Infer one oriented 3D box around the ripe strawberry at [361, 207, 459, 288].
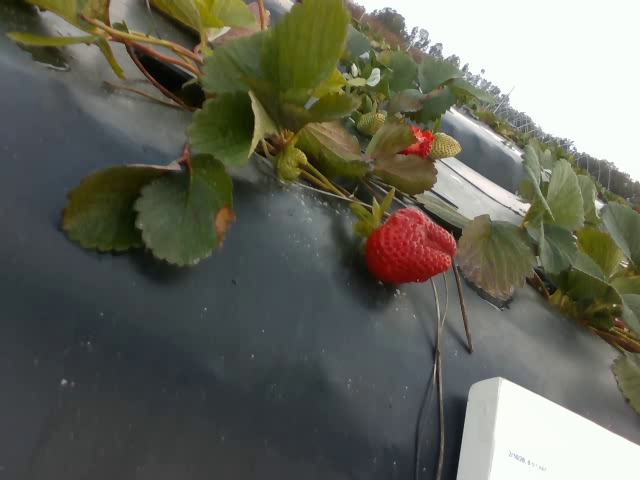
[{"bbox_3d":[0.014,0.002,0.087,0.015,0.013,0.017,17,47,32],"label":"ripe strawberry"}]
